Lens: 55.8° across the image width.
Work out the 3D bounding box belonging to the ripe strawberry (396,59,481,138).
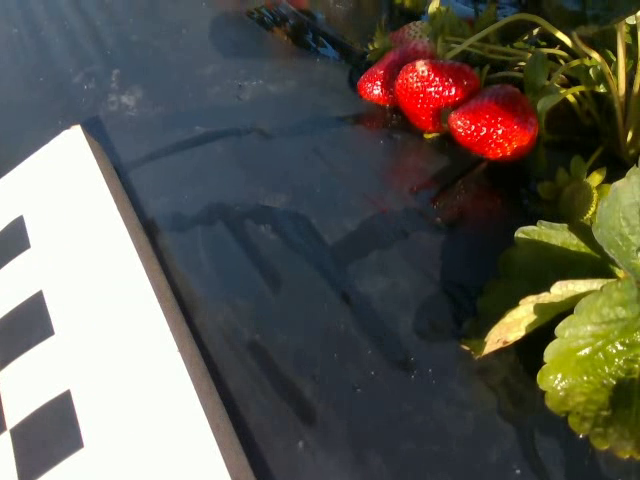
[{"bbox_3d":[0.047,-0.065,0.251,0.039,0.031,0.037,20,-58,-39],"label":"ripe strawberry"}]

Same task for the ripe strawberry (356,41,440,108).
[{"bbox_3d":[0.035,-0.078,0.275,0.045,0.023,0.032,-28,48,-12],"label":"ripe strawberry"}]

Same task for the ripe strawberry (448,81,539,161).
[{"bbox_3d":[0.062,-0.046,0.235,0.041,0.034,0.035,0,33,-39],"label":"ripe strawberry"}]
